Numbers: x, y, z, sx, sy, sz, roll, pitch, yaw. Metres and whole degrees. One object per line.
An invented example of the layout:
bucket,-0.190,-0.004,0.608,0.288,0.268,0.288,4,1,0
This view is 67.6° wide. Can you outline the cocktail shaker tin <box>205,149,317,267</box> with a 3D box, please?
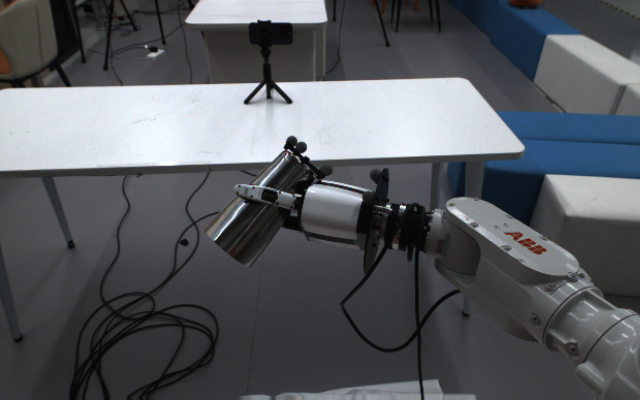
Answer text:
cocktail shaker tin,-0.084,0.006,0.739,0.170,0.093,0.093,-48,49,-3
